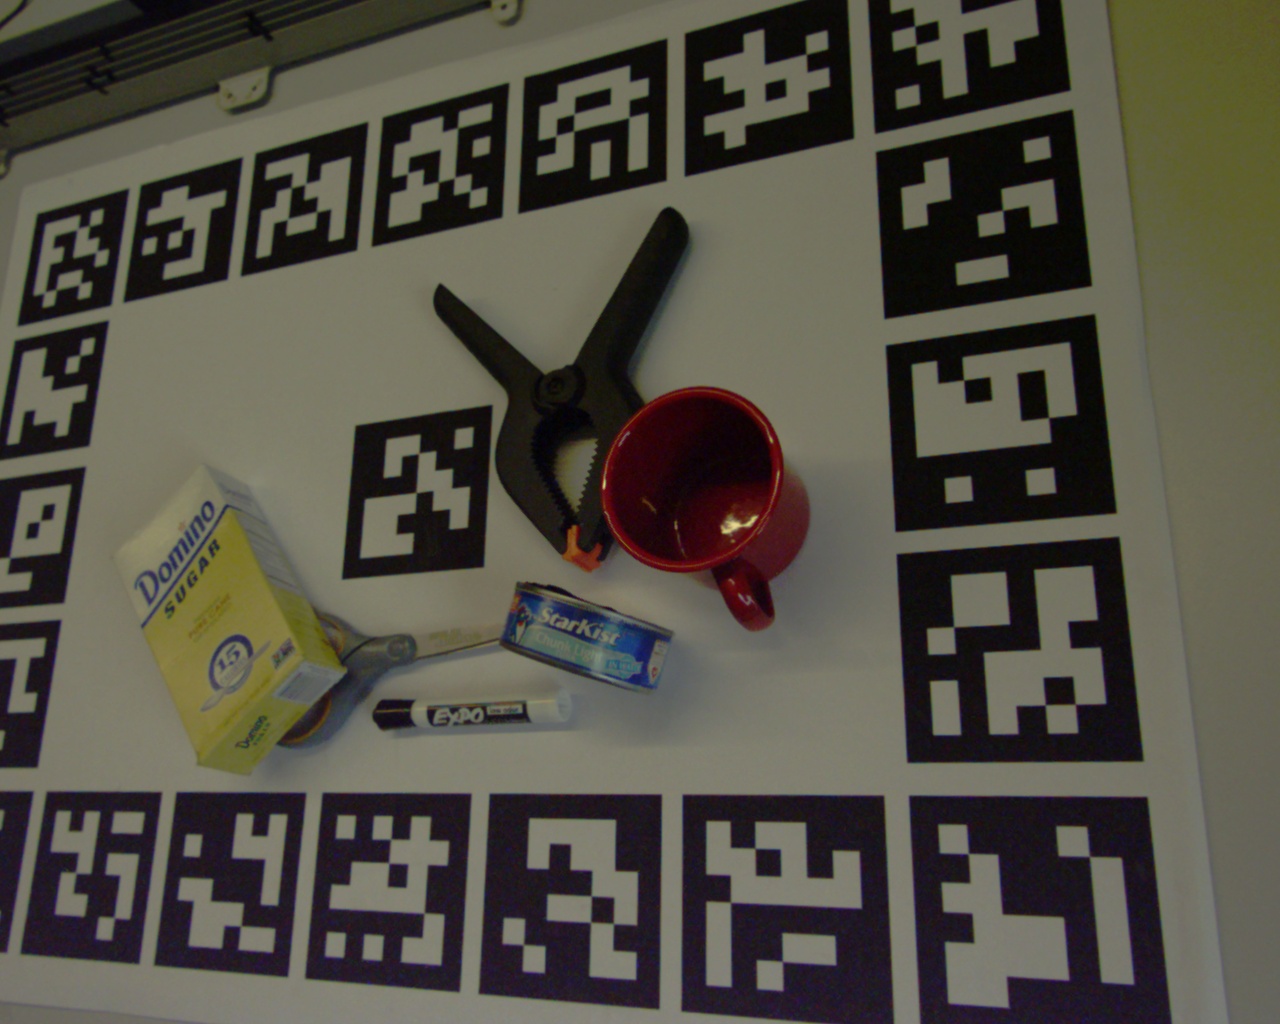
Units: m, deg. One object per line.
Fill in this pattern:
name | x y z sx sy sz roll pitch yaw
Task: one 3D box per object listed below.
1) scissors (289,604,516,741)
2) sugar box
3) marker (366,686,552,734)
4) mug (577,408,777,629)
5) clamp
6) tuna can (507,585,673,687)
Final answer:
scissors | -0.153 0.082 0.701 0.204 0.015 0.088 -16 66 18
sugar box | -0.258 0.066 0.735 0.093 0.045 0.178 -42 58 8
marker | -0.110 0.118 0.675 0.122 0.019 0.020 -10 73 22
mug | 0.029 0.011 0.610 0.094 0.080 0.118 -33 62 12
clamp | -0.043 -0.061 0.695 0.167 0.036 0.203 -17 71 19
tuna can | -0.028 0.067 0.615 0.087 0.085 0.034 12 81 26
